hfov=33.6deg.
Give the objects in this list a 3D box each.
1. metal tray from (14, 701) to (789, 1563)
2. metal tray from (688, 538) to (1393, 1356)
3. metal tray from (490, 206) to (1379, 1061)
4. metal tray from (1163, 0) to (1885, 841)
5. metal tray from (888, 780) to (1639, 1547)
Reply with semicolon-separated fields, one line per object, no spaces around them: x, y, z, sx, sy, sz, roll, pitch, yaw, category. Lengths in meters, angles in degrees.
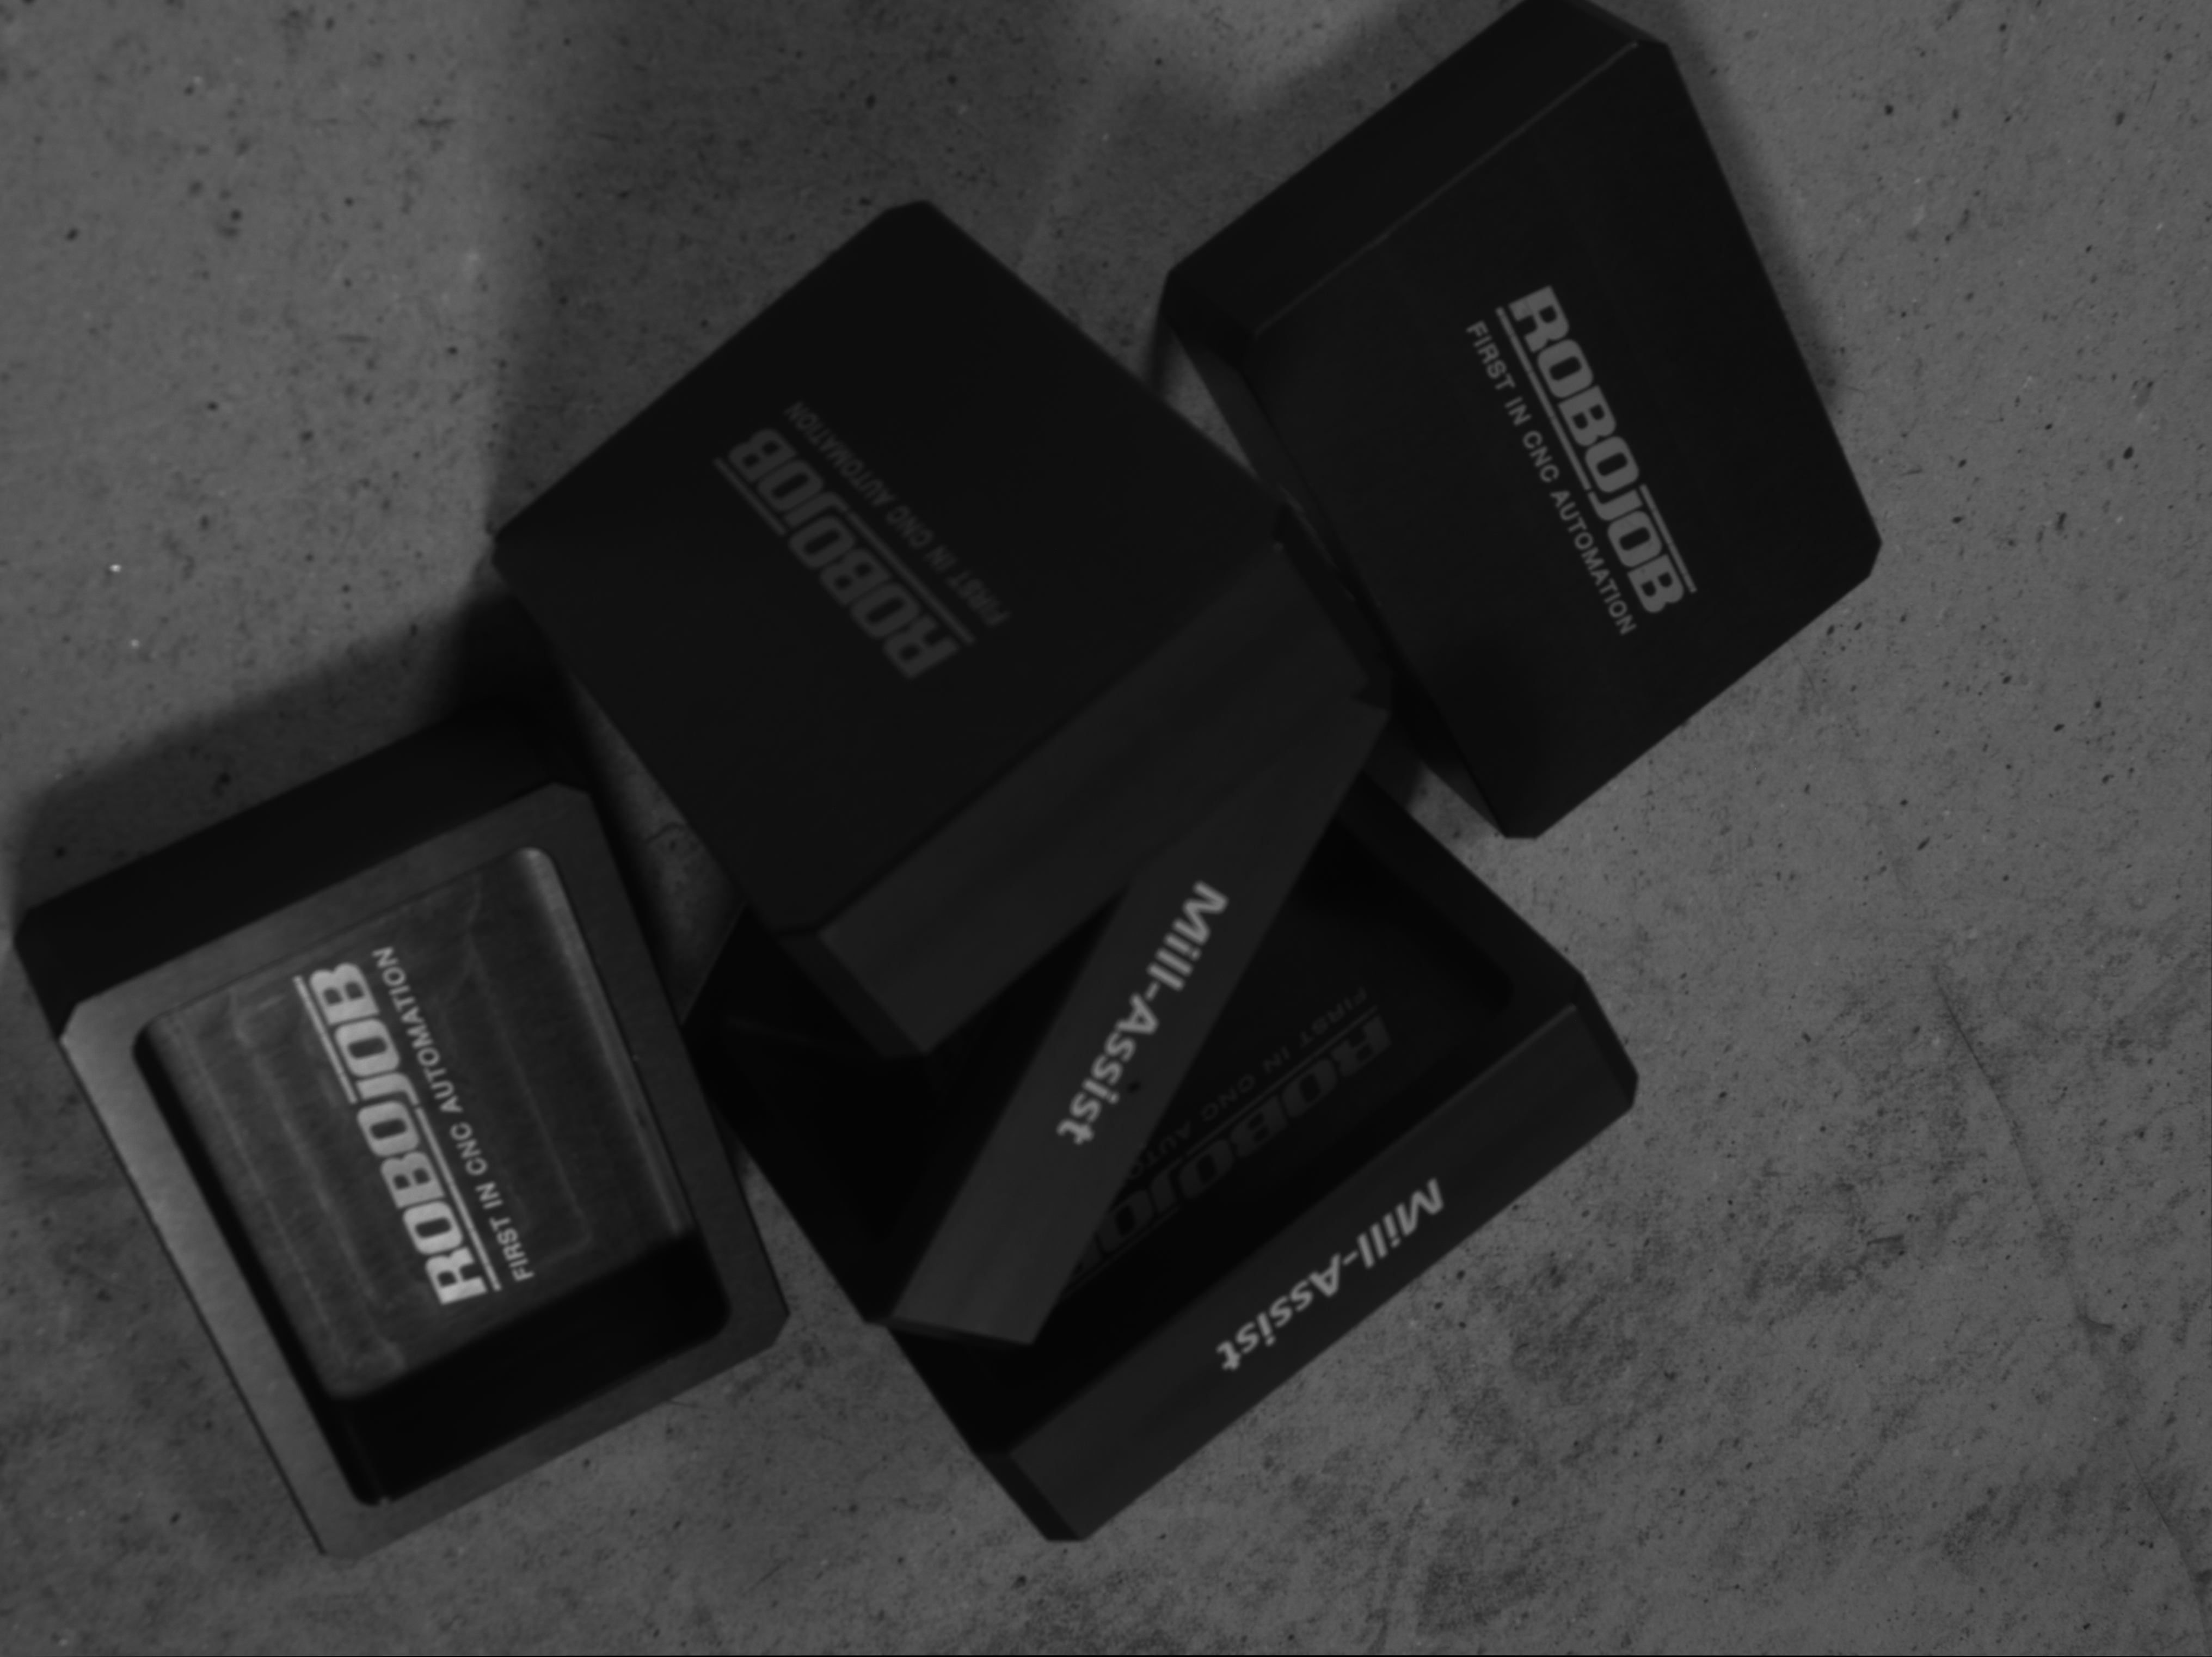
-0.114;0.053;0.614;0.090;0.030;0.130;-26;128;-14;metal tray
-0.015;0.009;0.605;0.030;0.090;0.130;18;108;-37;metal tray
-0.030;-0.034;0.544;0.090;0.130;0.030;-40;130;-3;metal tray
0.077;-0.070;0.649;0.090;0.030;0.130;-38;130;-4;metal tray
0.018;0.055;0.653;0.130;0.090;0.030;-37;130;-5;metal tray
